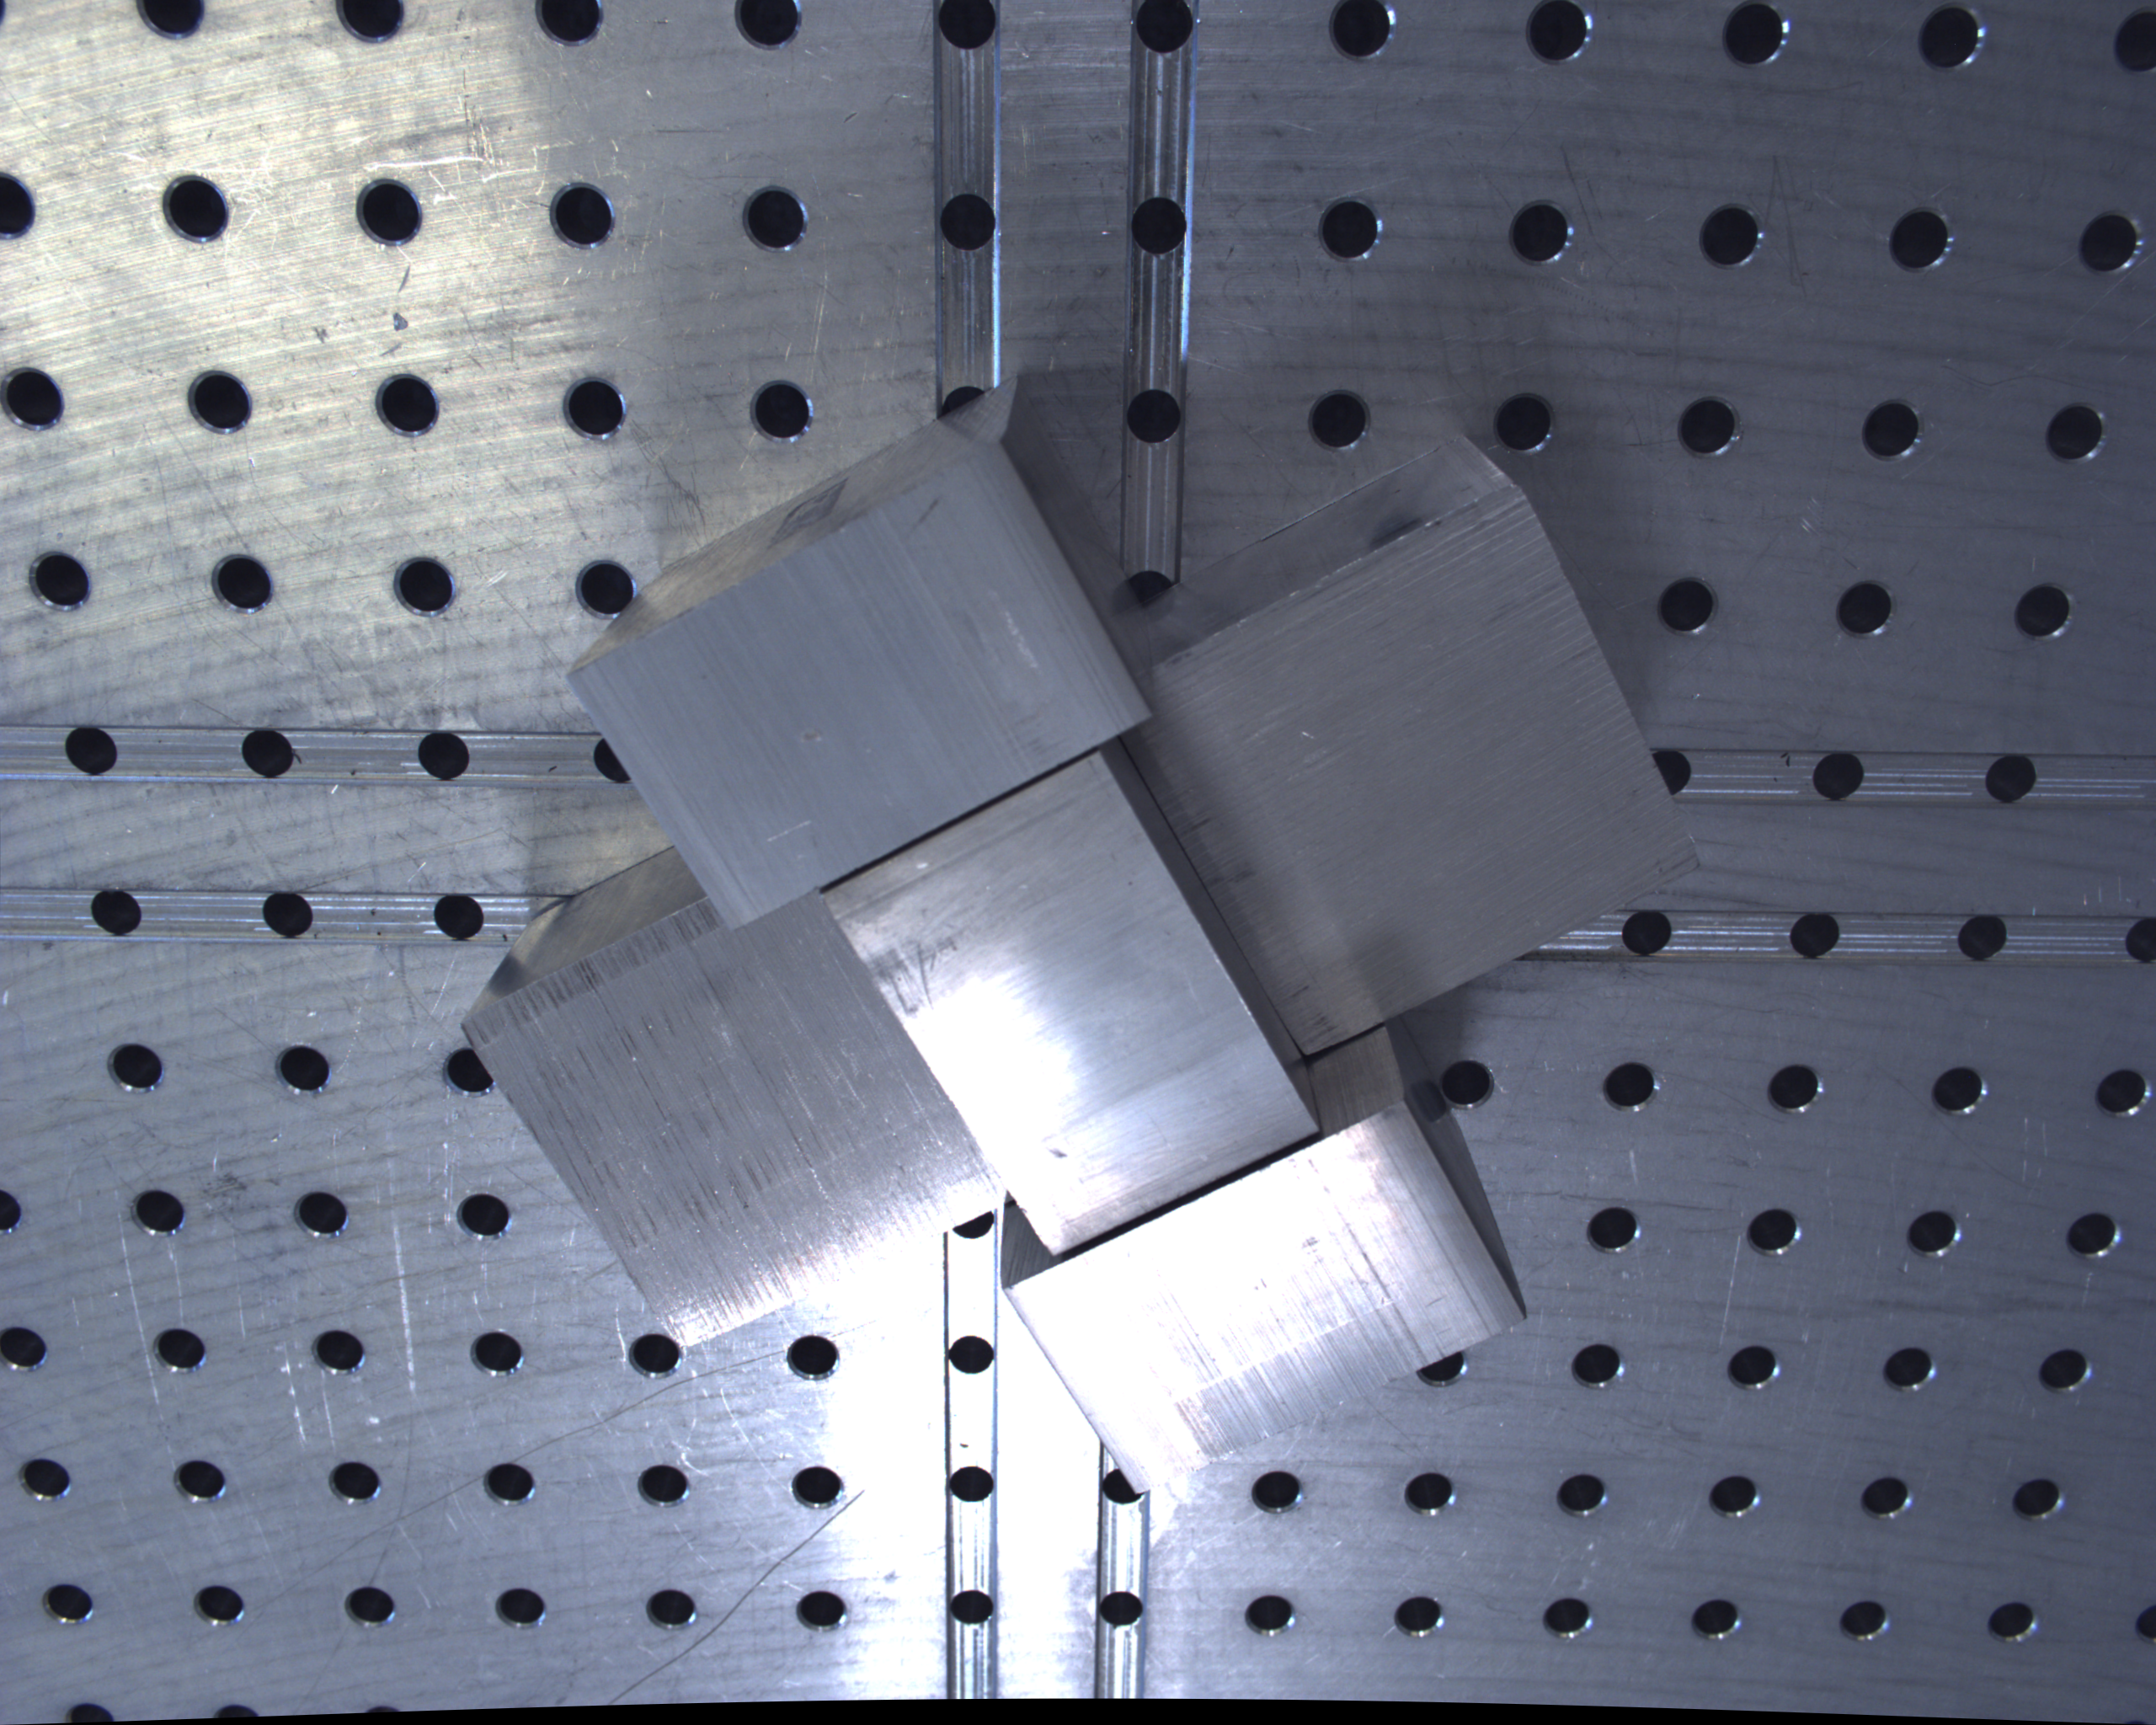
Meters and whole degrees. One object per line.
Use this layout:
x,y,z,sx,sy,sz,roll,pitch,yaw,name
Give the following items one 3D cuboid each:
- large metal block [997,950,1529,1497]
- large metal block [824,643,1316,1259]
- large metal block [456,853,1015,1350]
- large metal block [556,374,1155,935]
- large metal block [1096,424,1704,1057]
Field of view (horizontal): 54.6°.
0.033,0.065,0.408,0.080,0.080,0.050,-27,108,9,large metal block
0.000,0.012,0.388,0.050,0.080,0.080,-27,108,10,large metal block
-0.060,0.037,0.414,0.080,0.050,0.080,-25,108,9,large metal block
-0.035,-0.040,0.368,0.080,0.080,0.050,-27,108,9,large metal block
0.057,-0.023,0.391,0.080,0.050,0.080,-27,110,9,large metal block
